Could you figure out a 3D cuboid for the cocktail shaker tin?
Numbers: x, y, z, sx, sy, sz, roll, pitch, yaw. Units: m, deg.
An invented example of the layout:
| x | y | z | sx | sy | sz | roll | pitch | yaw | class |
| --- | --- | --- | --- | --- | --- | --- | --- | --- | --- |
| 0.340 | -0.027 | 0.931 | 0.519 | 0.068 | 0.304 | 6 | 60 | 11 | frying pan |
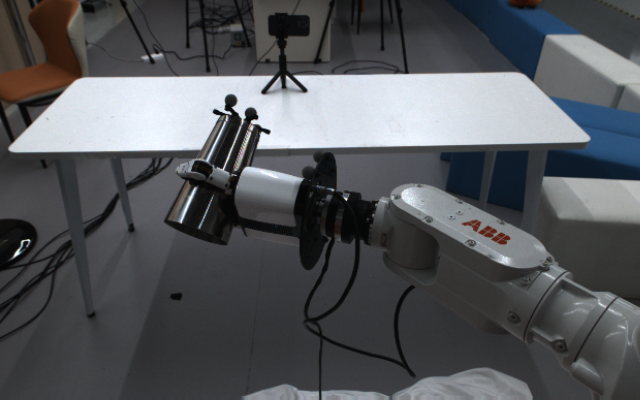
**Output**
| x | y | z | sx | sy | sz | roll | pitch | yaw | class |
| --- | --- | --- | --- | --- | --- | --- | --- | --- | --- |
| -0.145 | -0.030 | 0.687 | 0.093 | 0.093 | 0.170 | 14 | 73 | 17 | cocktail shaker tin |
